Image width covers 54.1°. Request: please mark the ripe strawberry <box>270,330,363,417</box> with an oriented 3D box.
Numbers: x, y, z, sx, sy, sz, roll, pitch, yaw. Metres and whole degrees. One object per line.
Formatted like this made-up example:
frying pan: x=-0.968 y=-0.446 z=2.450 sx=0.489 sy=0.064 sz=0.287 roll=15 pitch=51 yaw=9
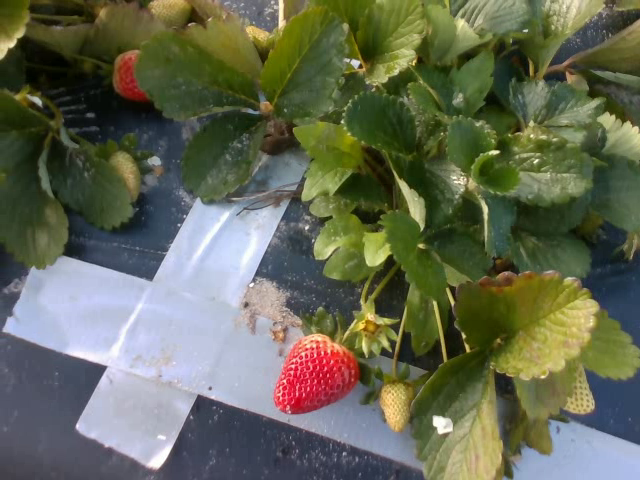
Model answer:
ripe strawberry: x=-0.002 y=0.036 z=0.155 sx=0.023 sy=0.021 sz=0.026 roll=27 pitch=50 yaw=27
